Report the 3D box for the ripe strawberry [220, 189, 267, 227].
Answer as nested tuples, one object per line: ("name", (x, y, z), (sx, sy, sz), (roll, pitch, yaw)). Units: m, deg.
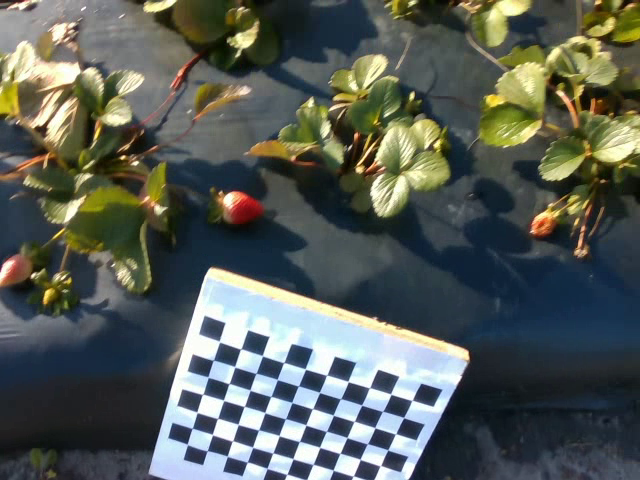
("ripe strawberry", (-0.090, -0.041, 0.657), (0.063, 0.045, 0.044), (3, 27, 5))
